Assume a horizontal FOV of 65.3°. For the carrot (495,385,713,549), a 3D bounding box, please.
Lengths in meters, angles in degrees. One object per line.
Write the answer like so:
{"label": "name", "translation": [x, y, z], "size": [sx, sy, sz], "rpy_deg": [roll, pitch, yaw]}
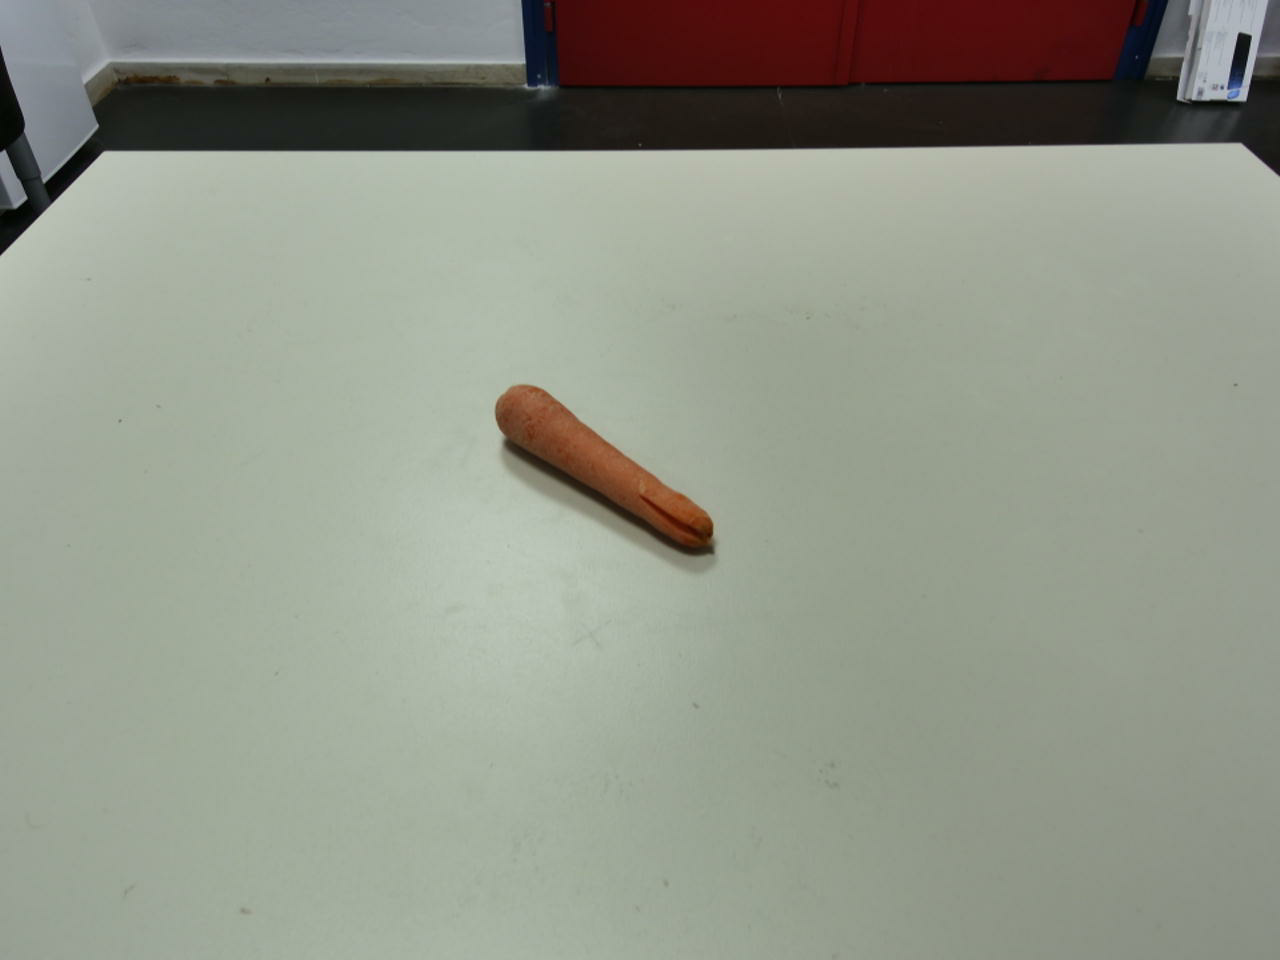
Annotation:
{"label": "carrot", "translation": [-0.019, -0.009, 0.459], "size": [0.030, 0.032, 0.136], "rpy_deg": [-32, 48, -34]}
